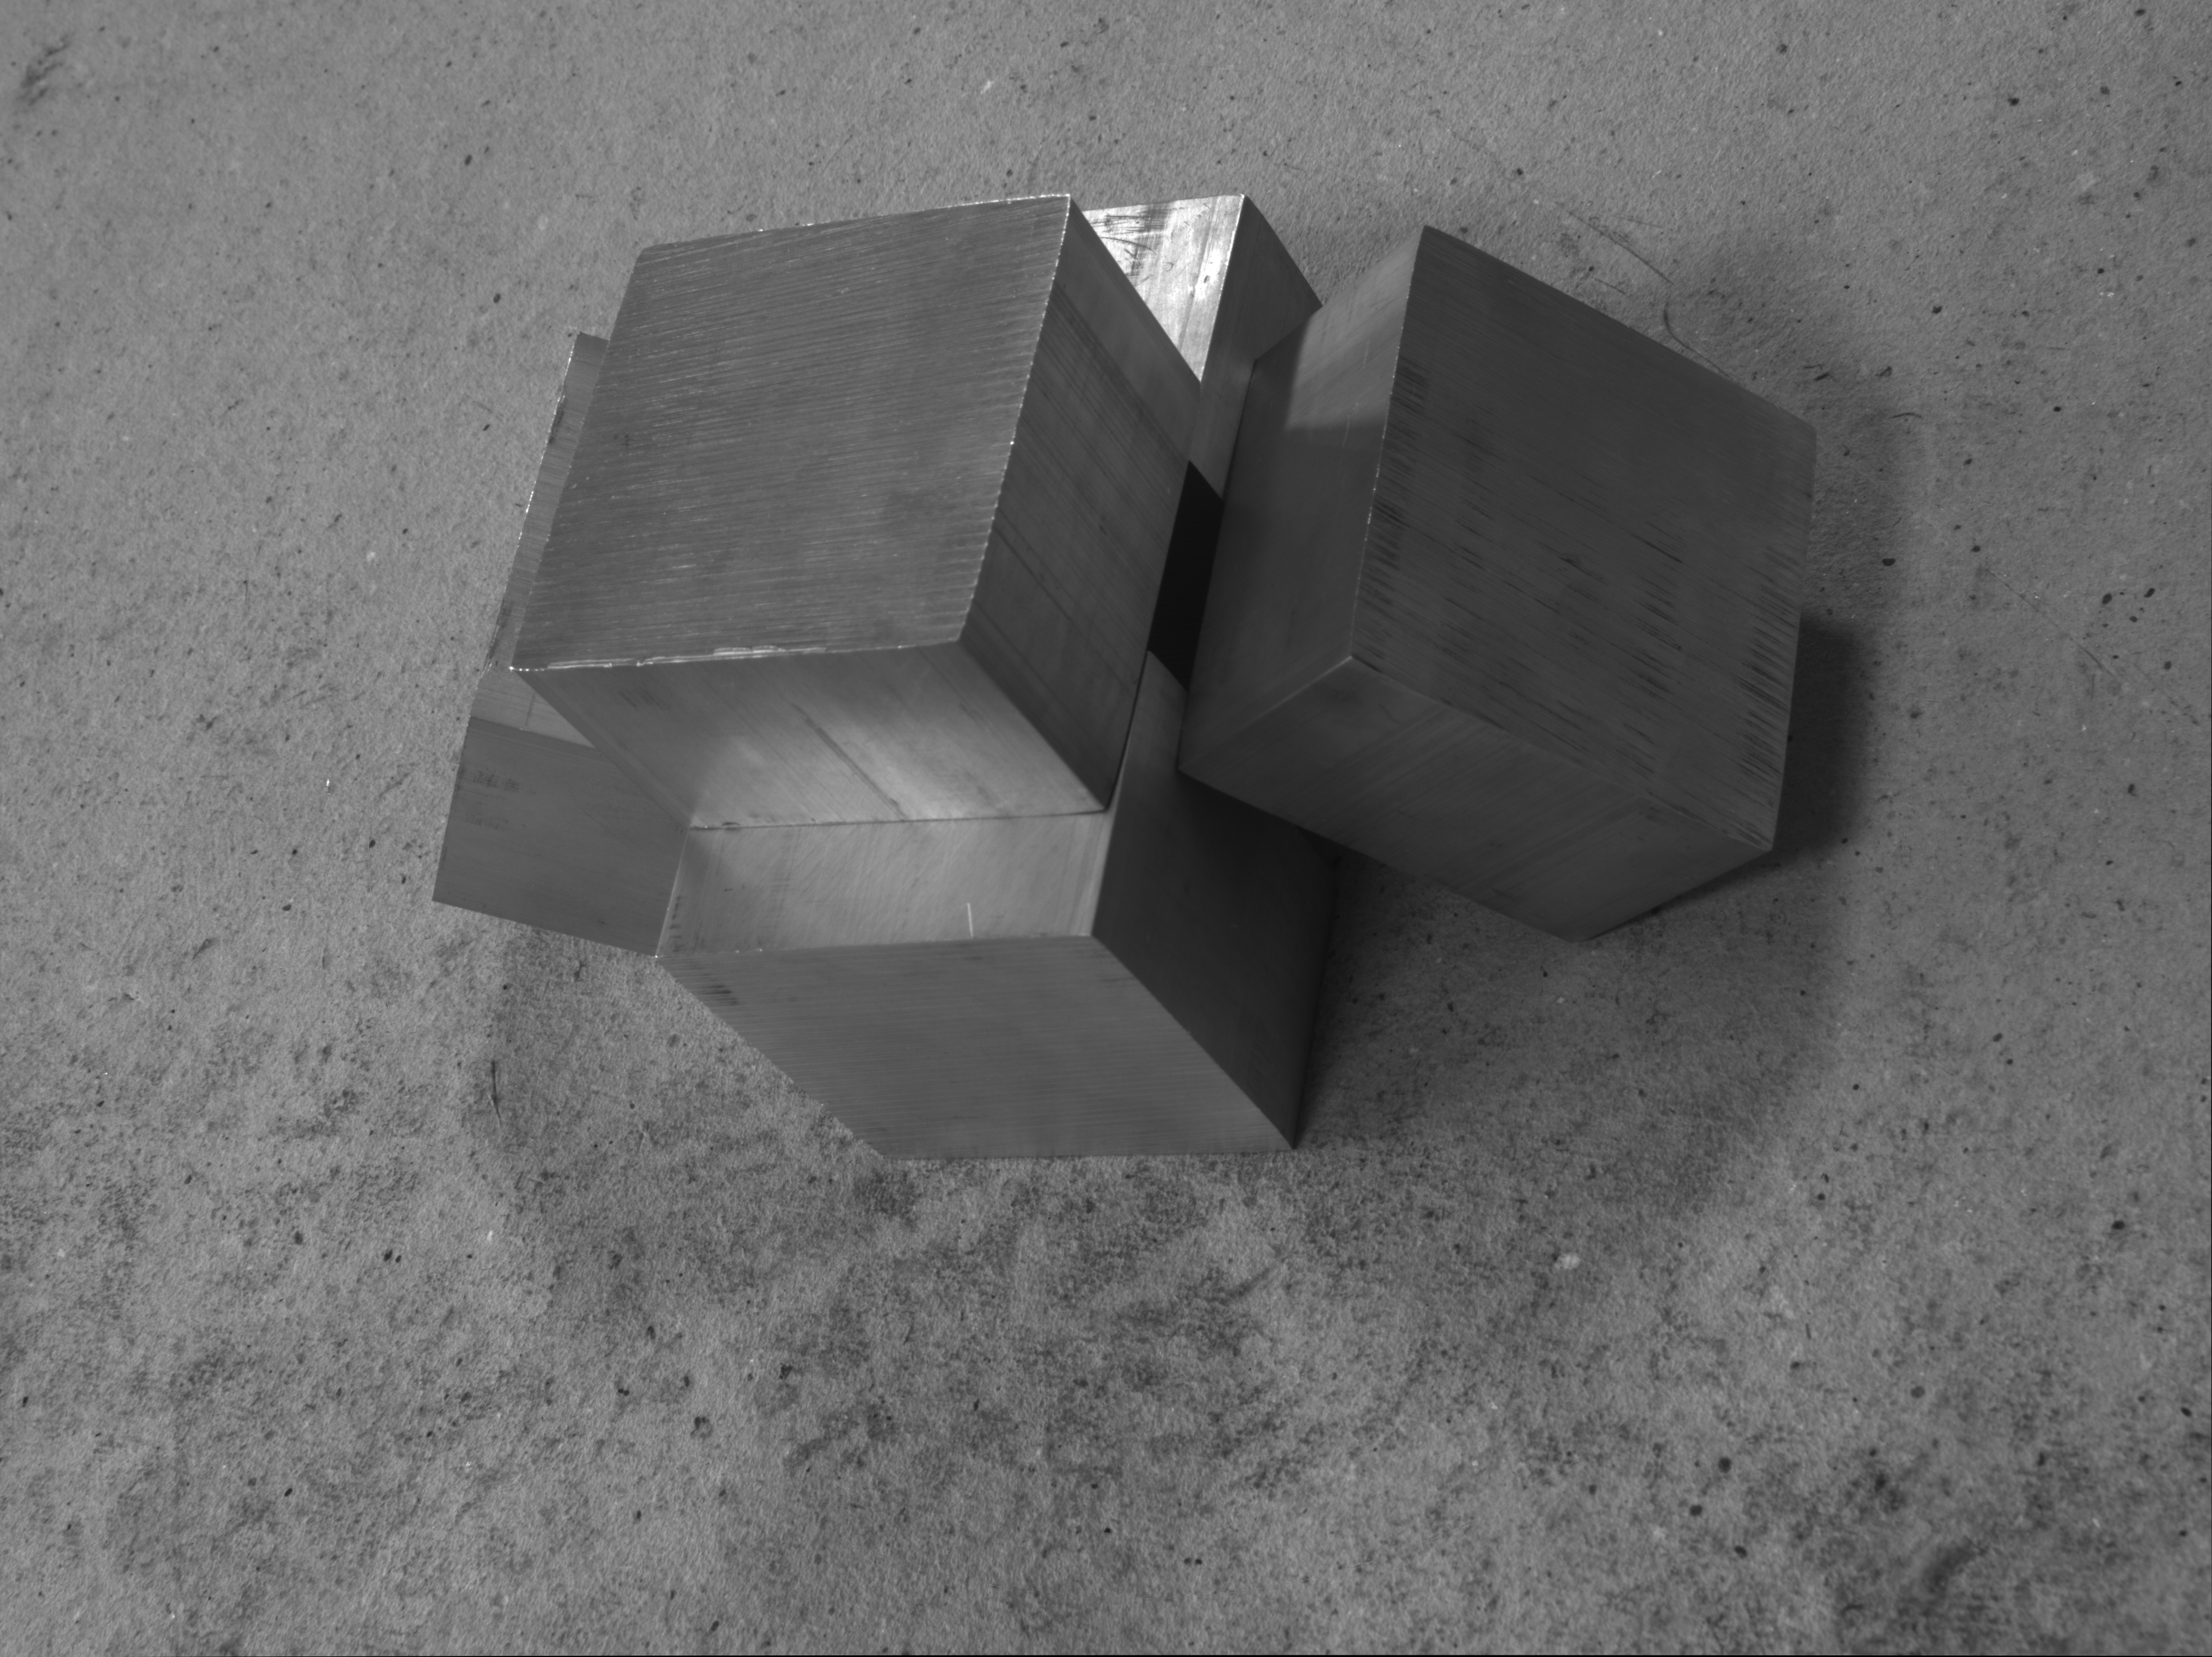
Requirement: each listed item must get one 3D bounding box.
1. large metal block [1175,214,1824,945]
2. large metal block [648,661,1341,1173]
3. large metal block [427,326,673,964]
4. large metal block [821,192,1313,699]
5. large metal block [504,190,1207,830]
[{"bbox_3d":[0.064,-0.038,0.588,0.050,0.080,0.080,-32,40,54],"label":"large metal block"},{"bbox_3d":[-0.016,0.017,0.609,0.080,0.080,0.050,-4,60,27],"label":"large metal block"},{"bbox_3d":[-0.085,-0.030,0.665,0.050,0.080,0.080,16,63,-8],"label":"large metal block"},{"bbox_3d":[0.001,-0.064,0.649,0.080,0.080,0.050,-2,61,27],"label":"large metal block"},{"bbox_3d":[-0.038,-0.048,0.575,0.080,0.050,0.080,-2,60,27],"label":"large metal block"}]
